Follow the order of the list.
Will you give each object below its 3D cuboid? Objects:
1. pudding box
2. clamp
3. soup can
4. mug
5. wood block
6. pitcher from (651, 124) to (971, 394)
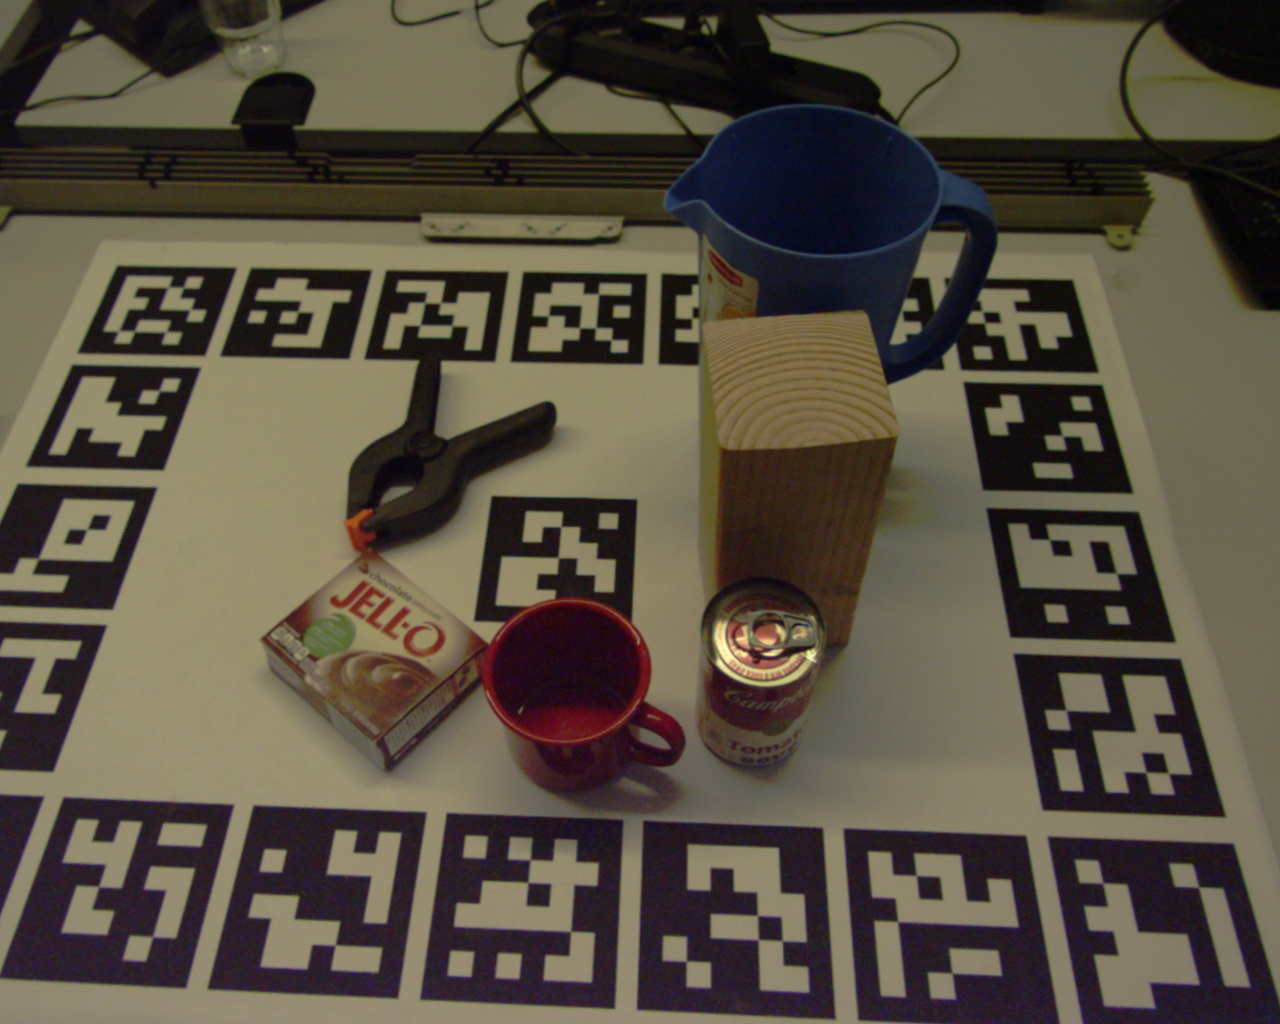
[{"bbox_3d":[-0.175,0.089,0.731,0.115,0.038,0.089,33,64,24],"label":"pudding box"},{"bbox_3d":[-0.148,-0.037,0.830,0.122,0.036,0.164,29,60,13],"label":"clamp"},{"bbox_3d":[0.059,0.094,0.673,0.068,0.101,0.068,-1,56,1],"label":"soup can"},{"bbox_3d":[-0.035,0.115,0.675,0.118,0.081,0.092,31,58,24],"label":"mug"},{"bbox_3d":[0.078,-0.009,0.684,0.090,0.206,0.091,1,53,-3],"label":"wood block"},{"bbox_3d":[0.106,-0.115,0.743,0.189,0.241,0.134,-1,51,4],"label":"pitcher"}]
